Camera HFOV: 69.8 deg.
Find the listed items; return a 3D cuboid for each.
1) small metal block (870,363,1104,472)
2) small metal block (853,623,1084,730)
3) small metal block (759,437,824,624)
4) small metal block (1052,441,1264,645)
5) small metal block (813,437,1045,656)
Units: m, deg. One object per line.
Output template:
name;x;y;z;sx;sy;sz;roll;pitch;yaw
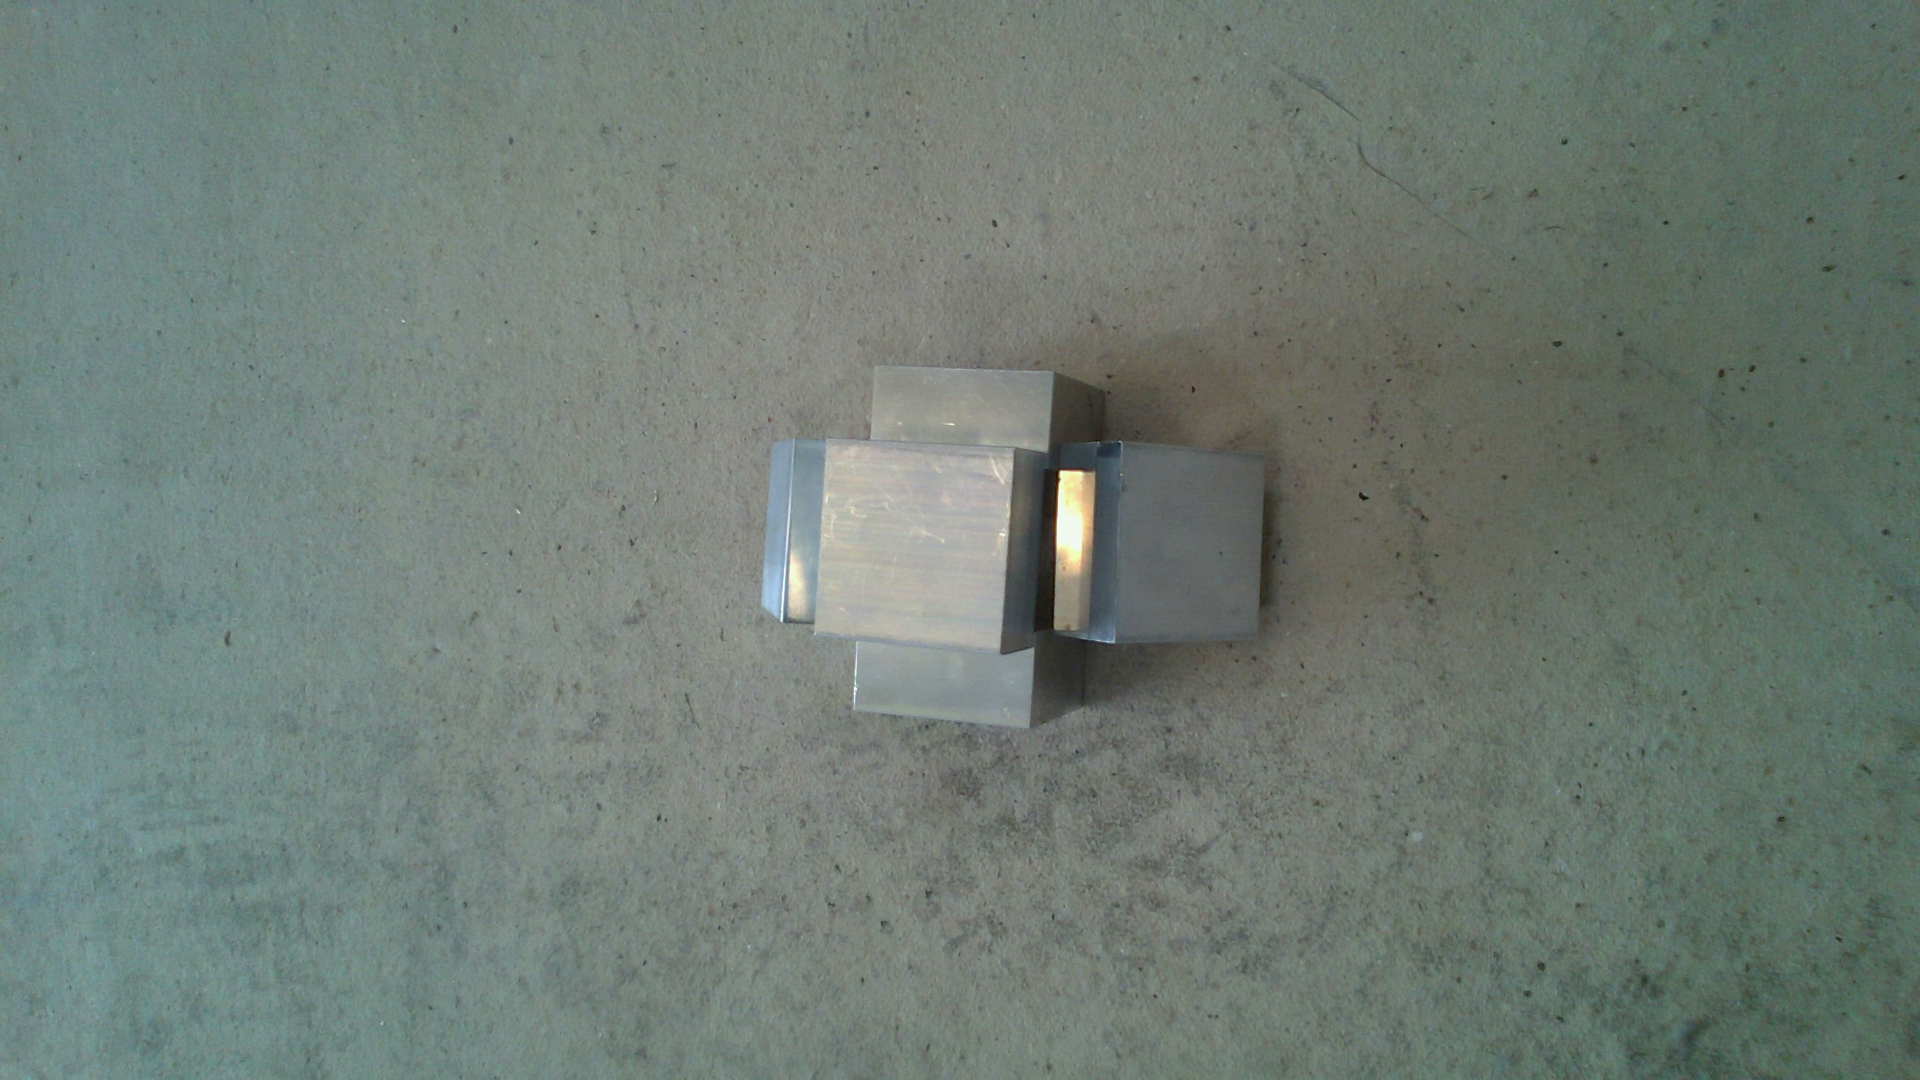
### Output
small metal block;0.008;-0.033;0.380;0.050;0.050;0.025;5;92;20
small metal block;0.004;0.034;0.382;0.050;0.050;0.025;3;92;20
small metal block;-0.041;-0.003;0.396;0.025;0.050;0.050;3;92;-15
small metal block;0.052;0.001;0.362;0.025;0.050;0.050;3;92;55
small metal block;-0.007;0.001;0.346;0.050;0.025;0.050;4;92;20
